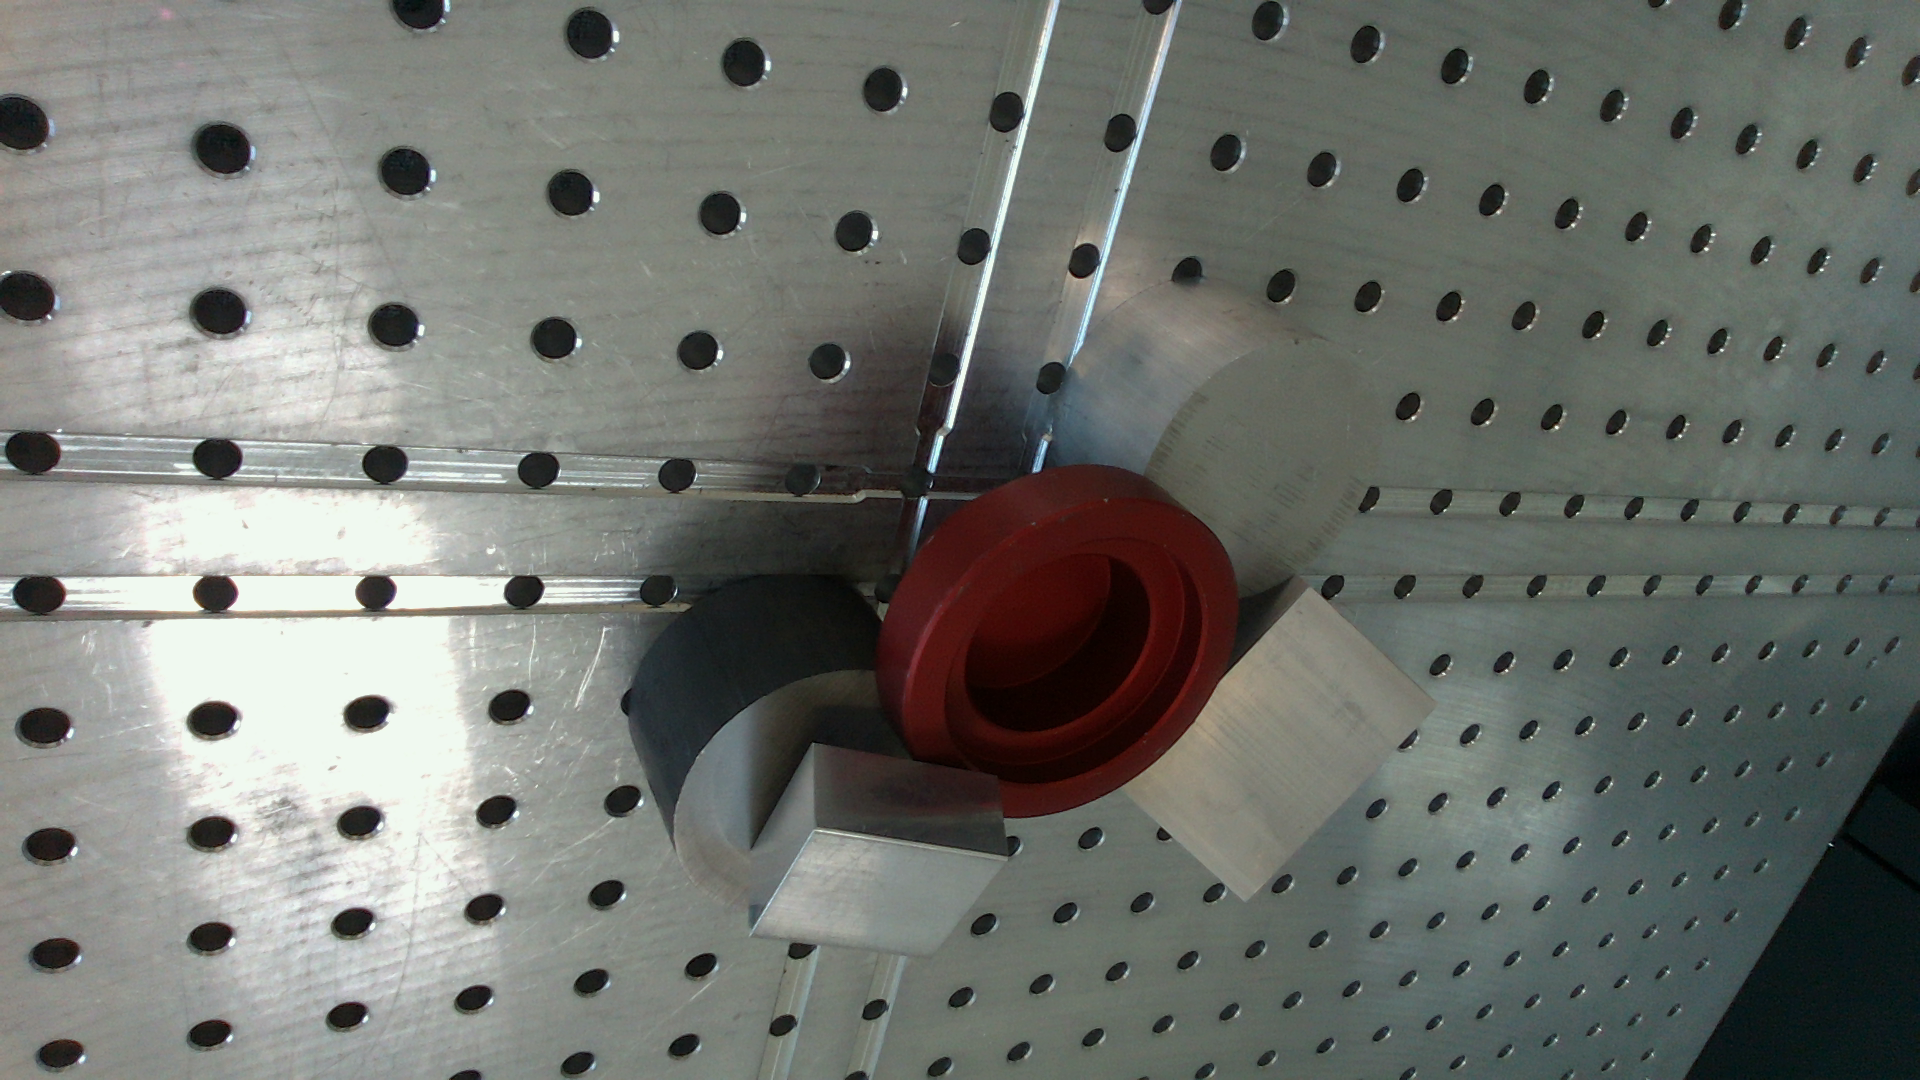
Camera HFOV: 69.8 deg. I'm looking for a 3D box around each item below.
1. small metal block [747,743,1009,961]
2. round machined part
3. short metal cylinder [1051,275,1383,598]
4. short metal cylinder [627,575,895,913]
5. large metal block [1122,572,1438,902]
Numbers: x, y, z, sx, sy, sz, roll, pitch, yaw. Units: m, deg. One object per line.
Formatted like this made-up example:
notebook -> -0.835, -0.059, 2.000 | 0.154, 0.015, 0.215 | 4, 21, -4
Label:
small metal block -> -0.022, 0.080, 0.349 | 0.050, 0.025, 0.050 | 13, 131, -21
round machined part -> 0.022, 0.023, 0.369 | 0.098, 0.042, 0.098 | -14, 124, -21
short metal cylinder -> 0.073, -0.030, 0.397 | 0.080, 0.050, 0.080 | -14, 124, -21
short metal cylinder -> -0.047, 0.057, 0.385 | 0.080, 0.050, 0.080 | -14, 124, -21
large metal block -> 0.090, 0.053, 0.429 | 0.050, 0.080, 0.080 | 42, 95, -5
